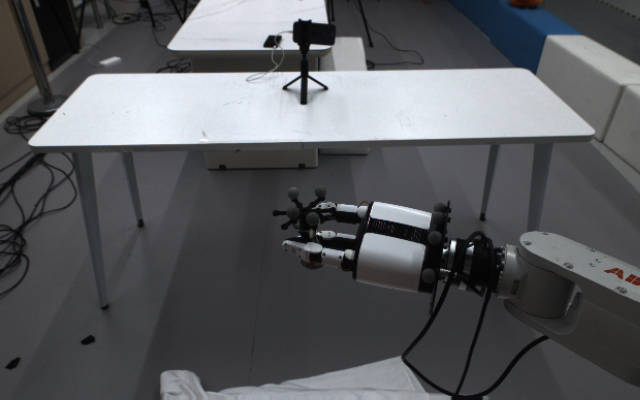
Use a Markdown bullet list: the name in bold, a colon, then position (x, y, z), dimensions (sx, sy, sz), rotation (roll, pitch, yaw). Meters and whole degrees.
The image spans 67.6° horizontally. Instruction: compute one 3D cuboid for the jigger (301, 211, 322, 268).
- **jigger**: position (-0.012, 0.056, 0.693), dimensions (0.043, 0.071, 0.043), rotation (-9, 31, 5)
